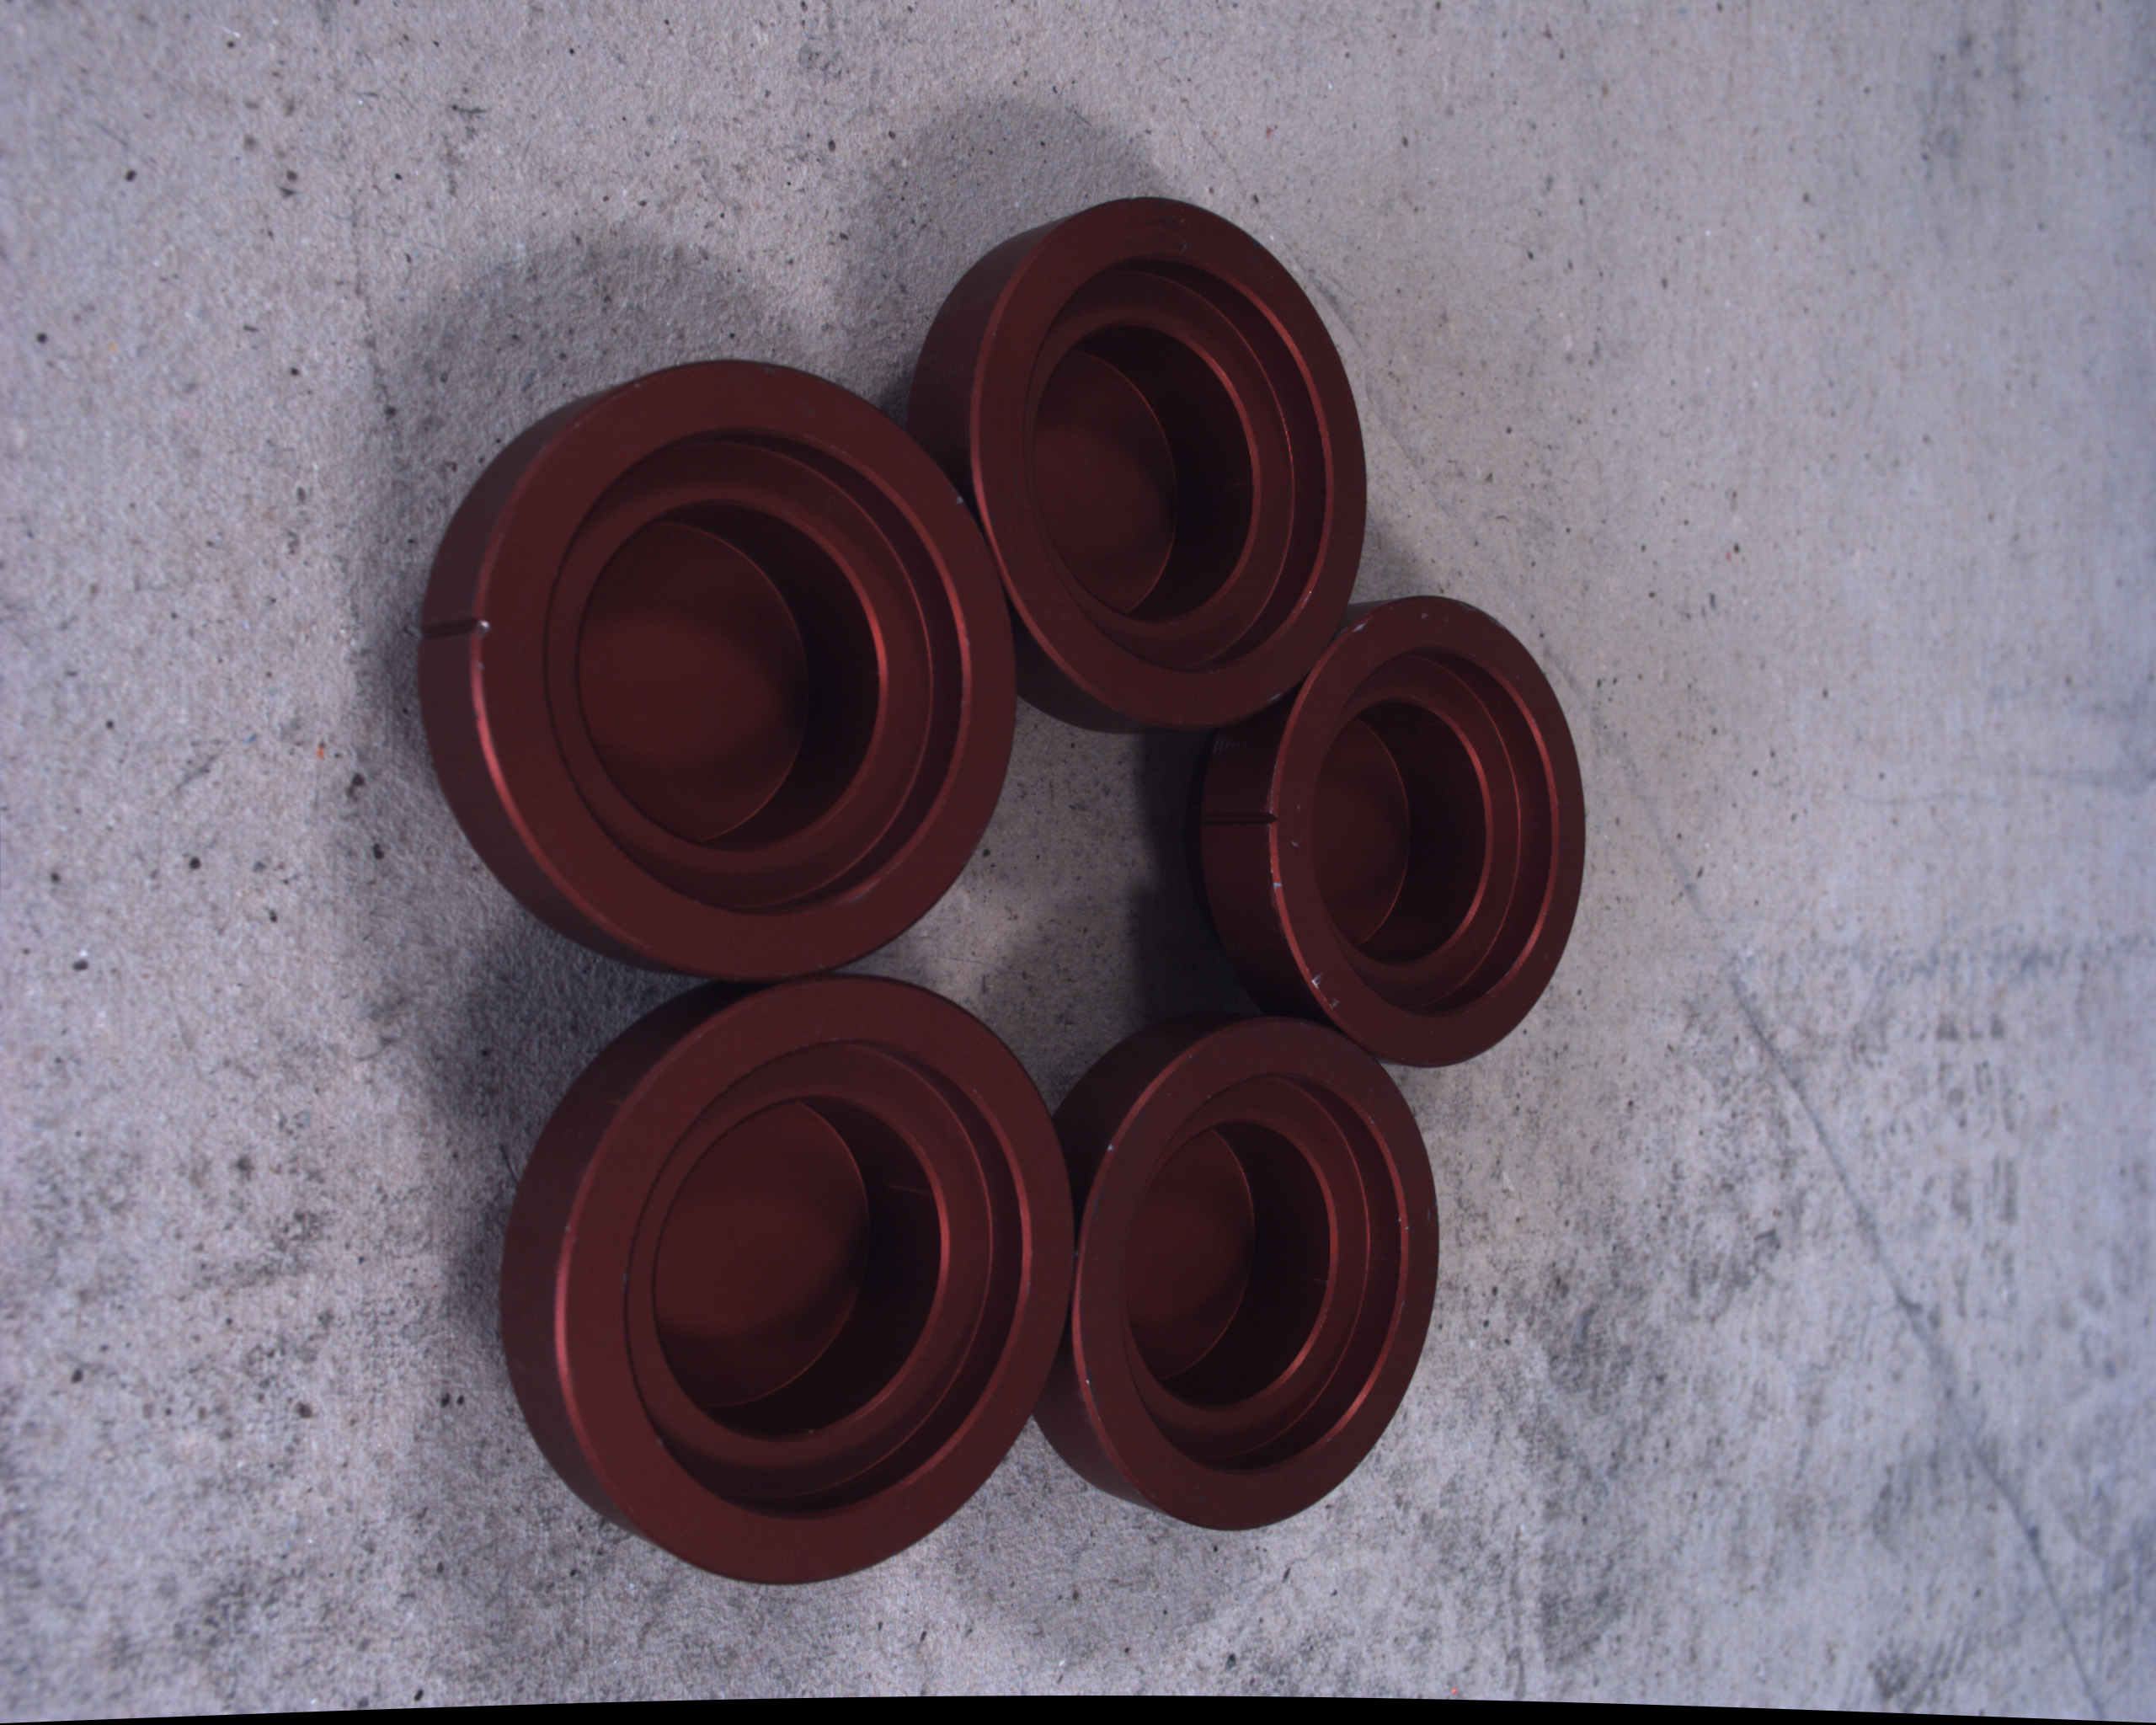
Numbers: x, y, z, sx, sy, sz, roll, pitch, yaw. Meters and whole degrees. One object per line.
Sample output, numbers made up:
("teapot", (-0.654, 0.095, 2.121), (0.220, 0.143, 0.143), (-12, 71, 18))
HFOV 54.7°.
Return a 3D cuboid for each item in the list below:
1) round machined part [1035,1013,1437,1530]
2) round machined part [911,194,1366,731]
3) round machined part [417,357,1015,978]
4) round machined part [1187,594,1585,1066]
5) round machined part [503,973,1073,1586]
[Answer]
("round machined part", (0.024, 0.078, 0.415), (0.099, 0.042, 0.097), (0, 89, -41))
("round machined part", (0.007, -0.073, 0.400), (0.099, 0.042, 0.097), (1, 88, -41))
("round machined part", (-0.061, -0.030, 0.343), (0.099, 0.042, 0.097), (1, 88, -40))
("round machined part", (0.062, -0.006, 0.446), (0.099, 0.042, 0.097), (1, 88, -41))
("round machined part", (-0.051, 0.067, 0.352), (0.099, 0.042, 0.097), (1, 88, -41))
